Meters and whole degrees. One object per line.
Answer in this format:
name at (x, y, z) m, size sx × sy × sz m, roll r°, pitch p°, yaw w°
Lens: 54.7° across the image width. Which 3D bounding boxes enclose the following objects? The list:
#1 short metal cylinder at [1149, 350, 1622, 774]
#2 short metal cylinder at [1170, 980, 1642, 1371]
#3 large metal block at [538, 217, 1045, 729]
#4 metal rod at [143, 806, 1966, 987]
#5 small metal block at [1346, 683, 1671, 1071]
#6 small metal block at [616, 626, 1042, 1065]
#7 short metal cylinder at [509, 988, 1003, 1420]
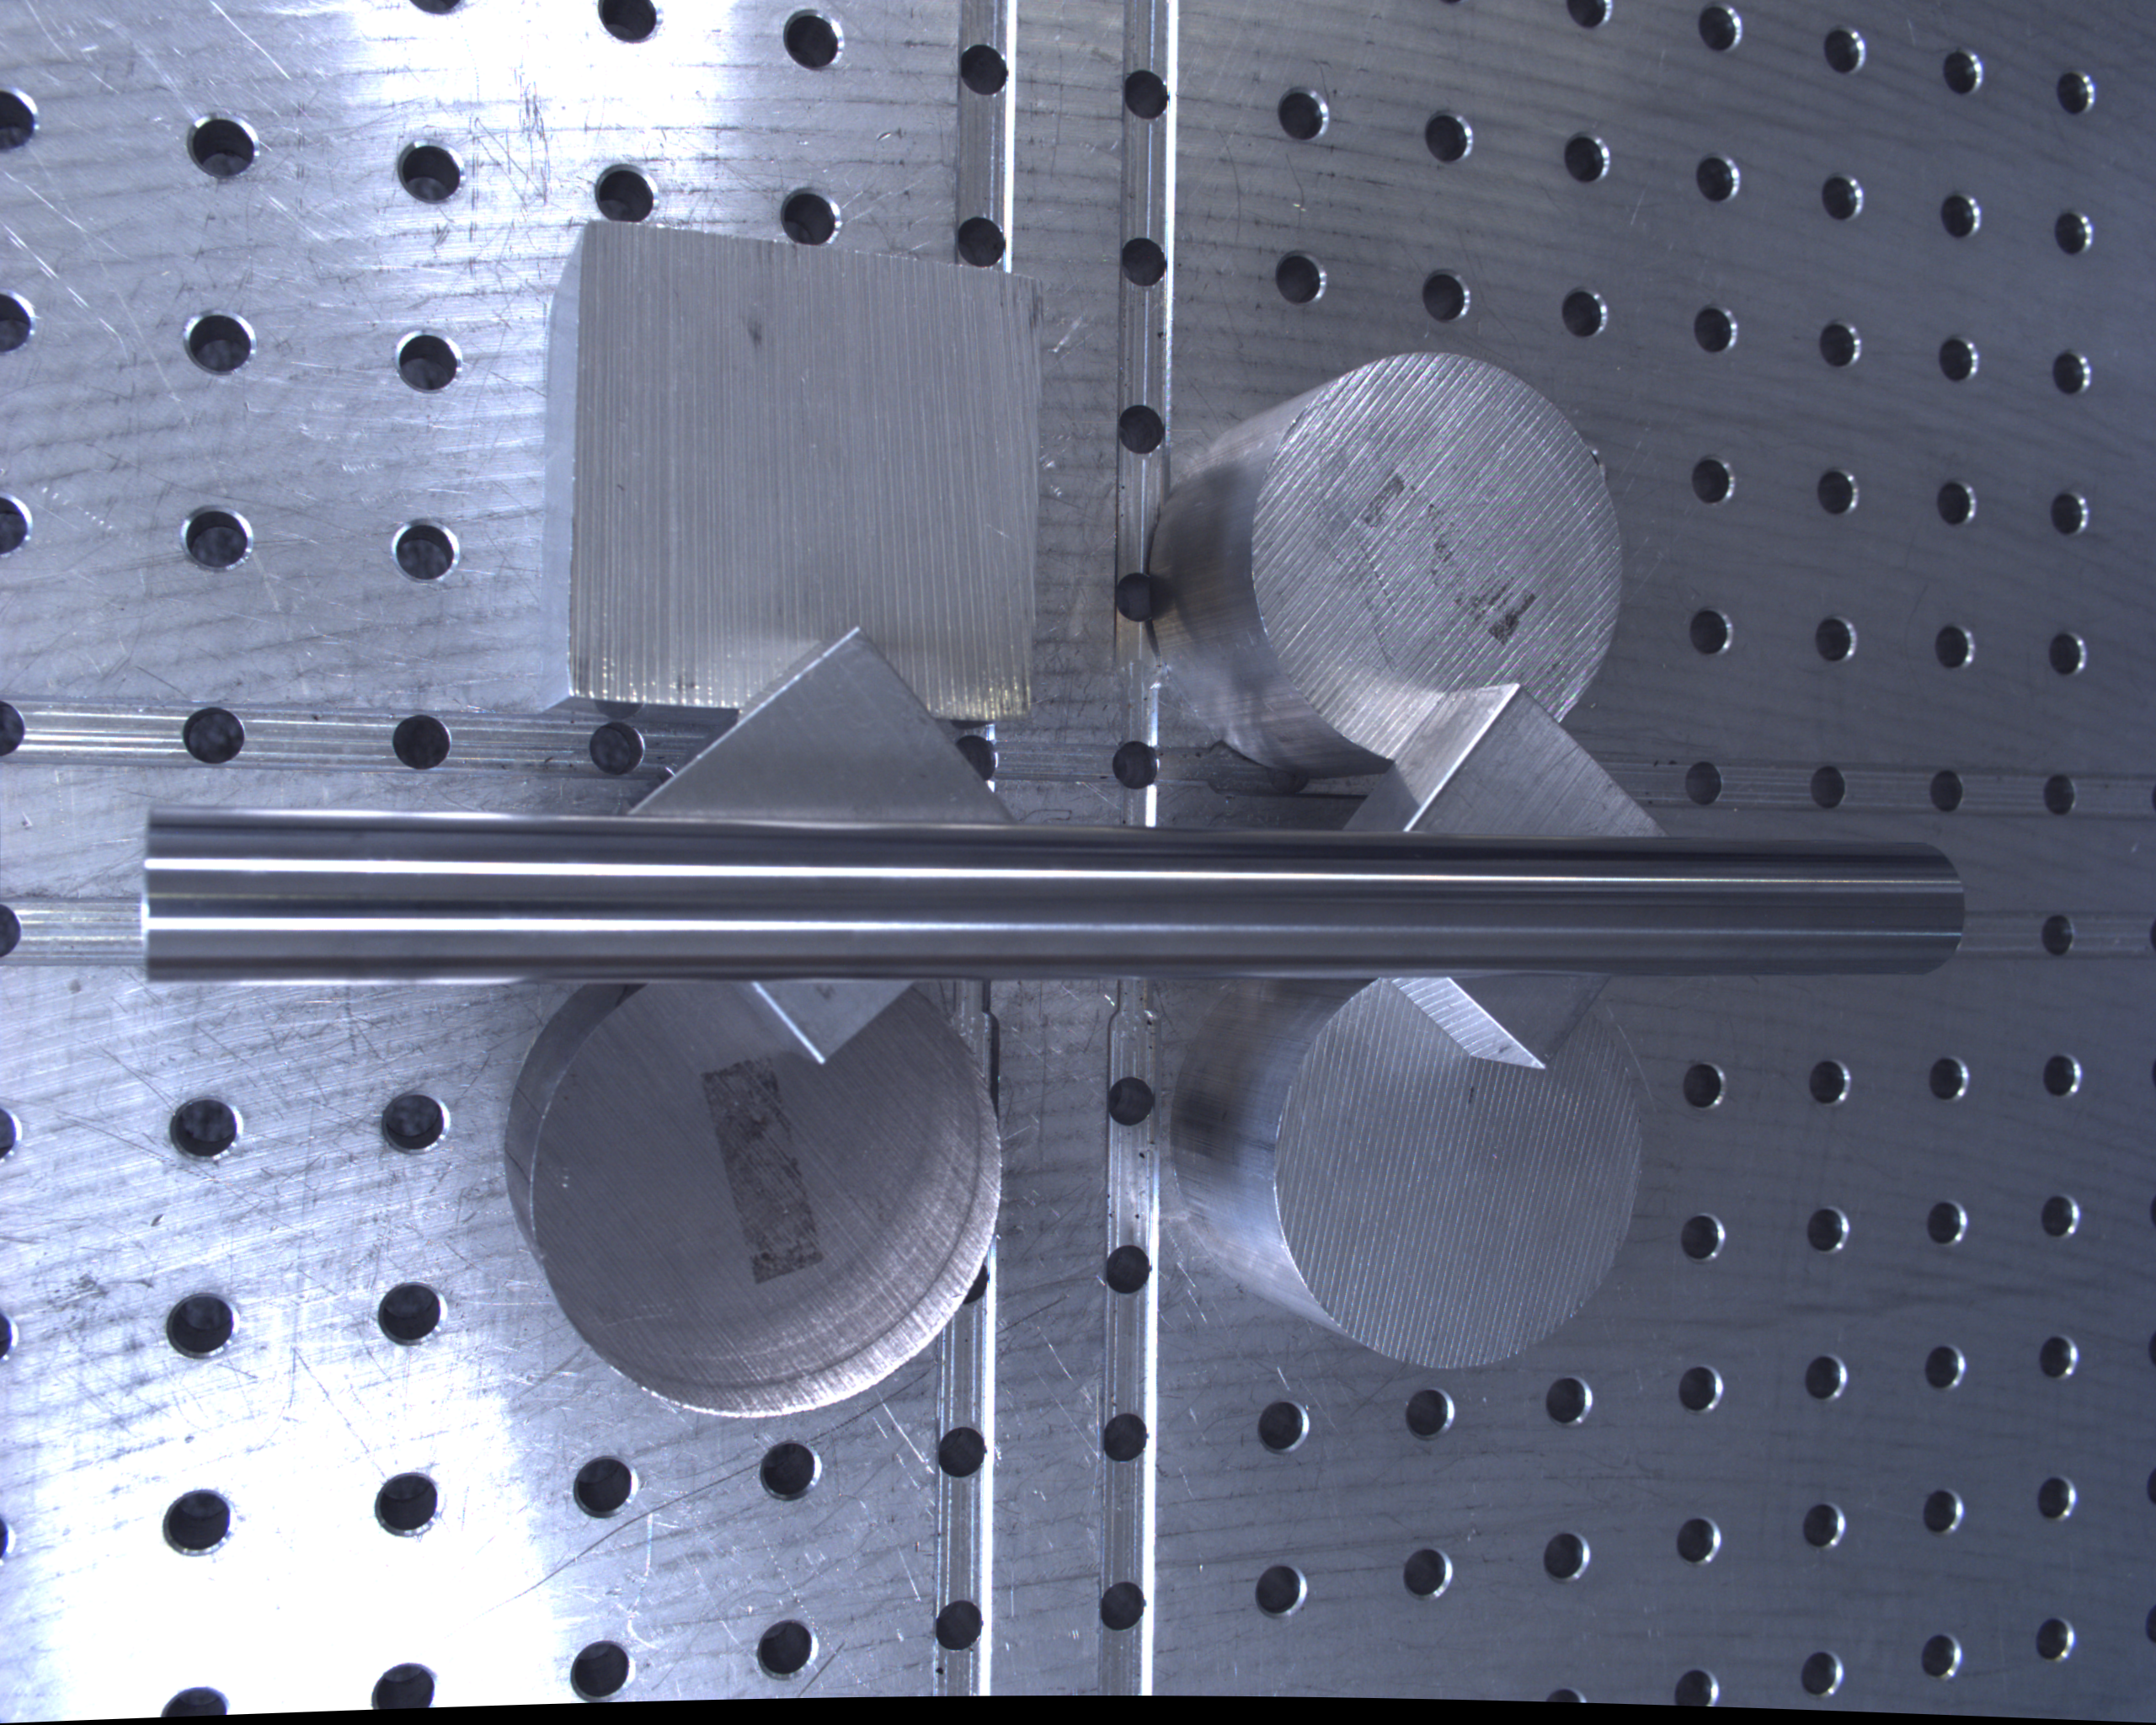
short metal cylinder at (0.061, -0.058, 0.422) m, size 0.081 × 0.050 × 0.080 m, roll 0°, pitch 90°, yaw -20°
short metal cylinder at (0.066, 0.057, 0.424) m, size 0.081 × 0.050 × 0.080 m, roll 0°, pitch 90°, yaw -20°
large metal block at (-0.053, -0.065, 0.379) m, size 0.081 × 0.050 × 0.080 m, roll 1°, pitch 90°, yaw -20°
metal rod at (0.015, 0.006, 0.338) m, size 0.302 × 0.025 × 0.025 m, roll 1°, pitch 90°, yaw -20°
small metal block at (0.077, 0.003, 0.388) m, size 0.050 × 0.025 × 0.050 m, roll 42°, pitch 77°, yaw -15°
small metal block at (-0.043, -0.003, 0.344) m, size 0.050 × 0.025 × 0.050 m, roll -42°, pitch 103°, yaw -15°
short metal cylinder at (-0.060, 0.054, 0.376) m, size 0.081 × 0.050 × 0.080 m, roll 0°, pitch 90°, yaw -20°
